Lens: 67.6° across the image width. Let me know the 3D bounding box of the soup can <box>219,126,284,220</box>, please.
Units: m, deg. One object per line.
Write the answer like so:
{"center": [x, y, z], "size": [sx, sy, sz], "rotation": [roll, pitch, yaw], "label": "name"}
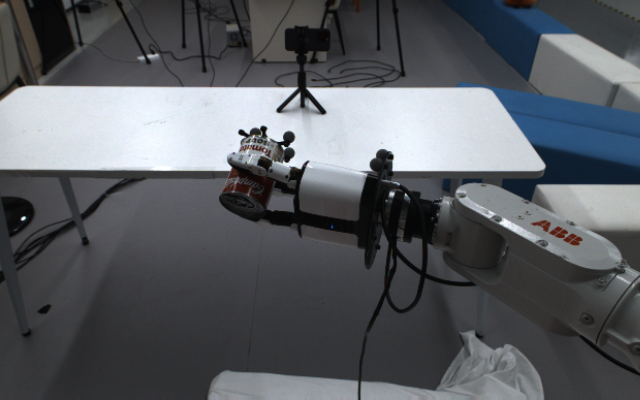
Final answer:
{"center": [-0.095, -0.034, 0.693], "size": [0.067, 0.067, 0.101], "rotation": [9, 60, 10], "label": "soup can"}
